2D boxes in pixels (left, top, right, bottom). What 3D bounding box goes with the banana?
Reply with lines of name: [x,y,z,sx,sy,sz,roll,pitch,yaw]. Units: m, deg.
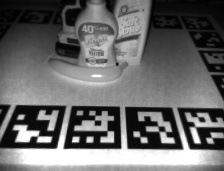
banana: [-0.061,-0.030,0.514,0.197,0.039,0.074,3,47,2]

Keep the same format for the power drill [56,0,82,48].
power drill: [-0.078,-0.176,0.505,0.184,0.188,0.057,10,46,5]

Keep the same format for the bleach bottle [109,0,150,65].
bleach bottle: [0.033,-0.167,0.499,0.102,0.252,0.067,2,41,0]

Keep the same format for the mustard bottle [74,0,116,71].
mustard bottle: [-0.039,-0.110,0.473,0.096,0.192,0.058,1,46,-2]
